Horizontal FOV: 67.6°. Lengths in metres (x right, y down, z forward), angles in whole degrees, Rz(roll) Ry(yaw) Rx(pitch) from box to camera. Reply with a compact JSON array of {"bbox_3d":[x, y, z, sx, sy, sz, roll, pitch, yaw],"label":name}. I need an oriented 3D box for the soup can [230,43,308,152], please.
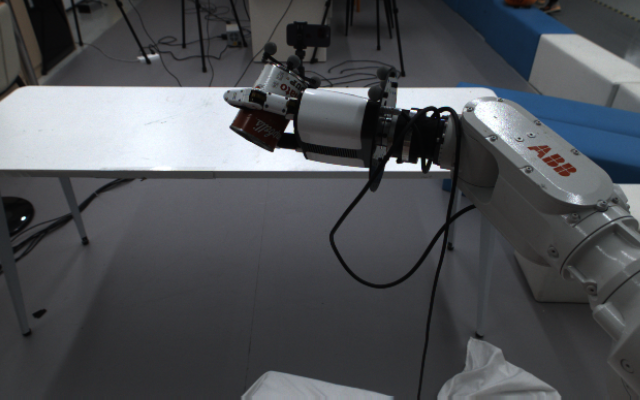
[{"bbox_3d":[-0.069,-0.125,0.654,0.067,0.101,0.067,29,-2,1],"label":"soup can"}]
